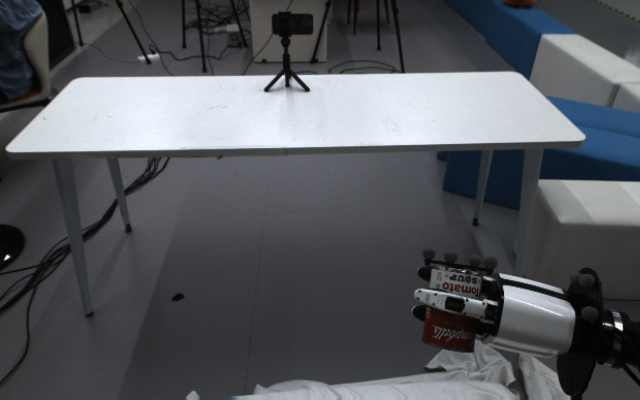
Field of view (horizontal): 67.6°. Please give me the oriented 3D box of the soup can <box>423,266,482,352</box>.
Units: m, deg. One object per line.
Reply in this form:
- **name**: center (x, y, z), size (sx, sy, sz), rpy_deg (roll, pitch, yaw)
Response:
- **soup can**: center (0.176, 0.141, 0.639), size (0.067, 0.101, 0.067), rpy_deg (9, -6, 1)
